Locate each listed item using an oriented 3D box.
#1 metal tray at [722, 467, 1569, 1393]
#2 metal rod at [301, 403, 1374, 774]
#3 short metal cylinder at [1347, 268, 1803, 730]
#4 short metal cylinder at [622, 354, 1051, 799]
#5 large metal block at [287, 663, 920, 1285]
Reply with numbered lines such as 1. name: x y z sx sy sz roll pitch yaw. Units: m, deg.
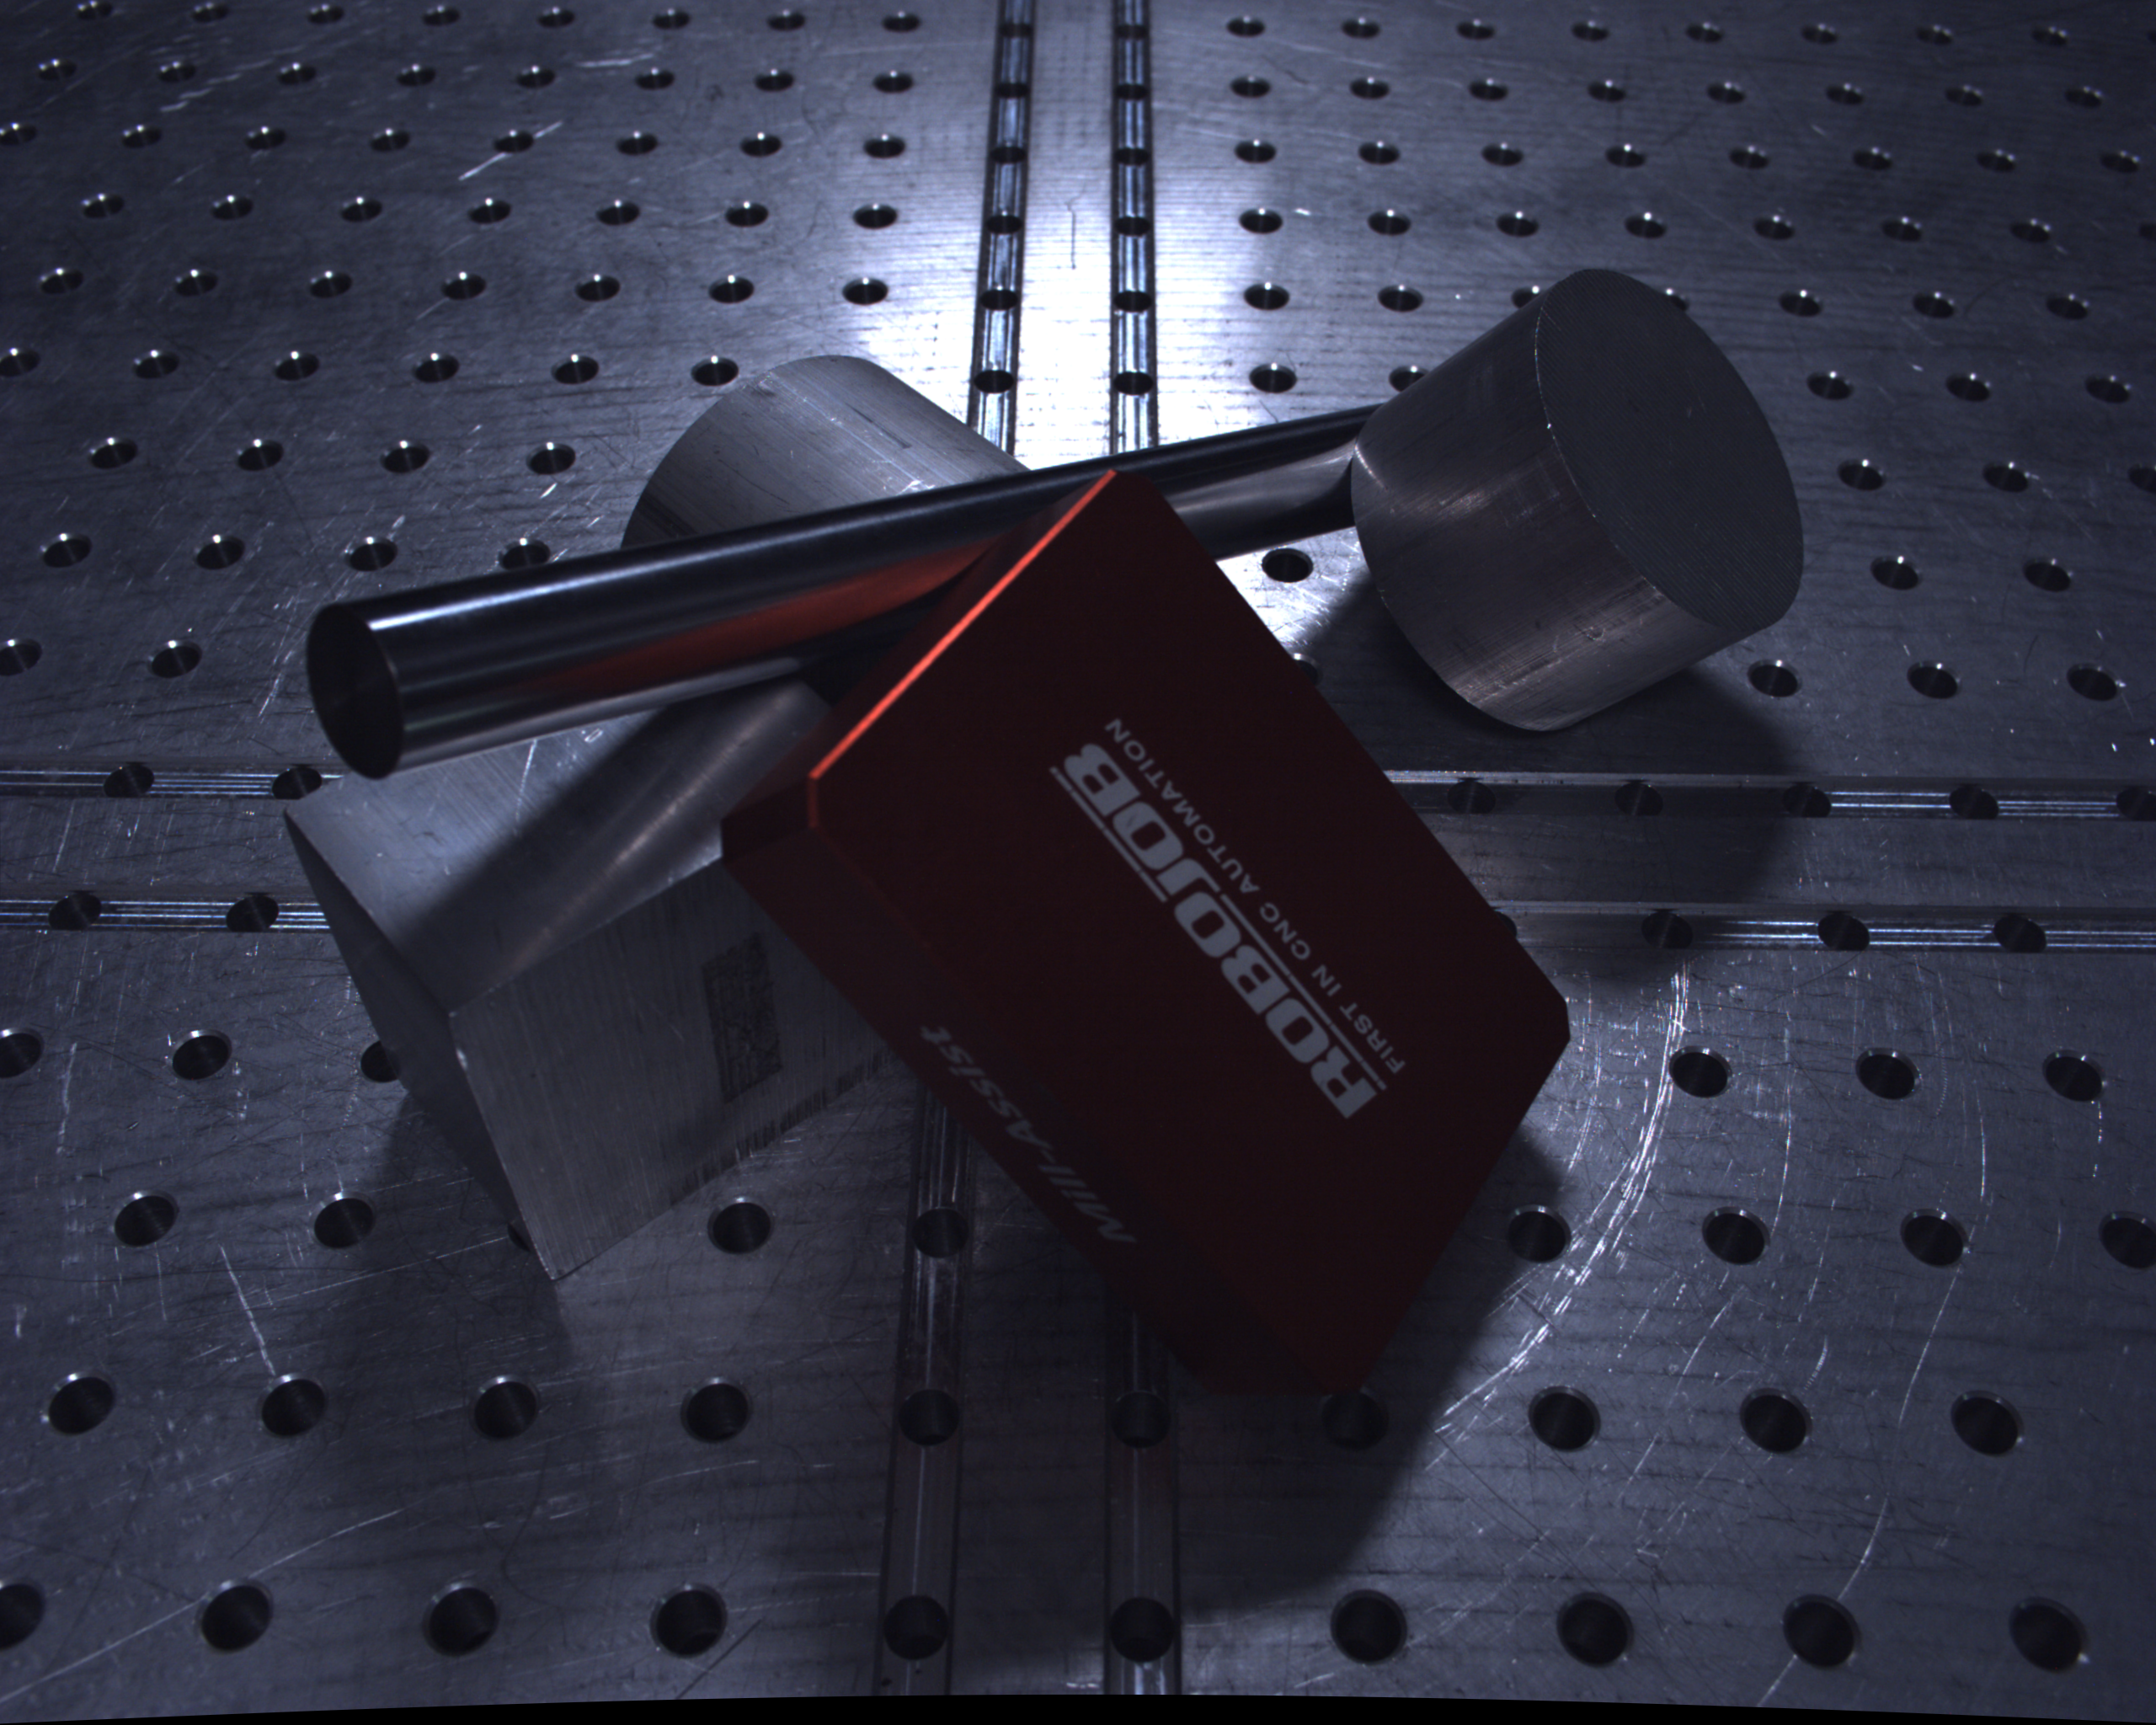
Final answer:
1. metal tray: 0.017 0.012 0.343 0.130 0.030 0.090 49 55 -15
2. metal rod: 0.001 -0.064 0.392 0.025 0.025 0.302 39 39 27
3. short metal cylinder: 0.102 -0.073 0.429 0.081 0.050 0.080 17 60 -33
4. short metal cylinder: -0.044 -0.053 0.416 0.080 0.080 0.050 -36 59 -27
5. large metal block: -0.076 0.014 0.359 0.081 0.080 0.050 -33 58 -25
